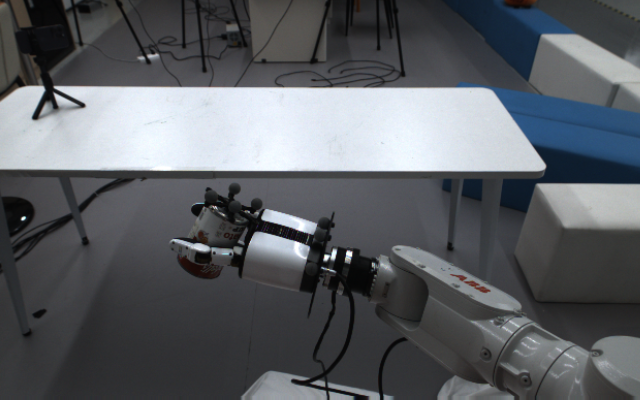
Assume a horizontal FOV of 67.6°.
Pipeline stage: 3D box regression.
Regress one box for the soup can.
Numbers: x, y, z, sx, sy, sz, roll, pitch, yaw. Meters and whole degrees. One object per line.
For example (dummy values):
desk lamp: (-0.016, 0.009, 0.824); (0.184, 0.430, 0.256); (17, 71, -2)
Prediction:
soup can: (-0.152, 0.054, 0.690); (0.067, 0.101, 0.067); (29, 18, -10)
